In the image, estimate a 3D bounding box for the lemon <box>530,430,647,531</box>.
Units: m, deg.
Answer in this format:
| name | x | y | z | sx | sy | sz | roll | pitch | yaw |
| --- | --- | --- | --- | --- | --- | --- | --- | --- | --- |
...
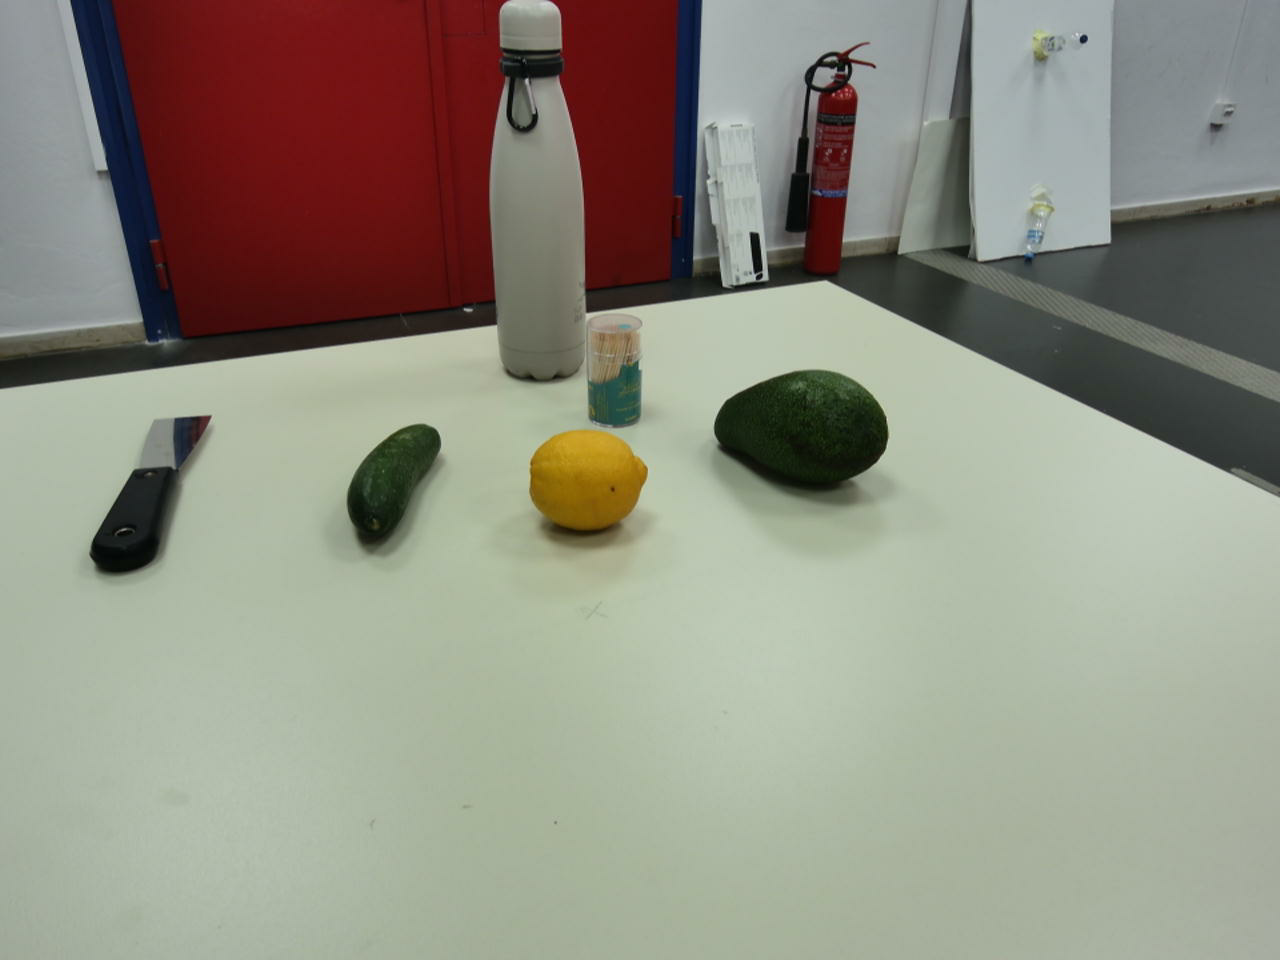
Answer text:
| name | x | y | z | sx | sy | sz | roll | pitch | yaw |
| --- | --- | --- | --- | --- | --- | --- | --- | --- | --- |
| lemon | -0.032 | 0.001 | 0.590 | 0.067 | 0.059 | 0.060 | 8 | 27 | 16 |
